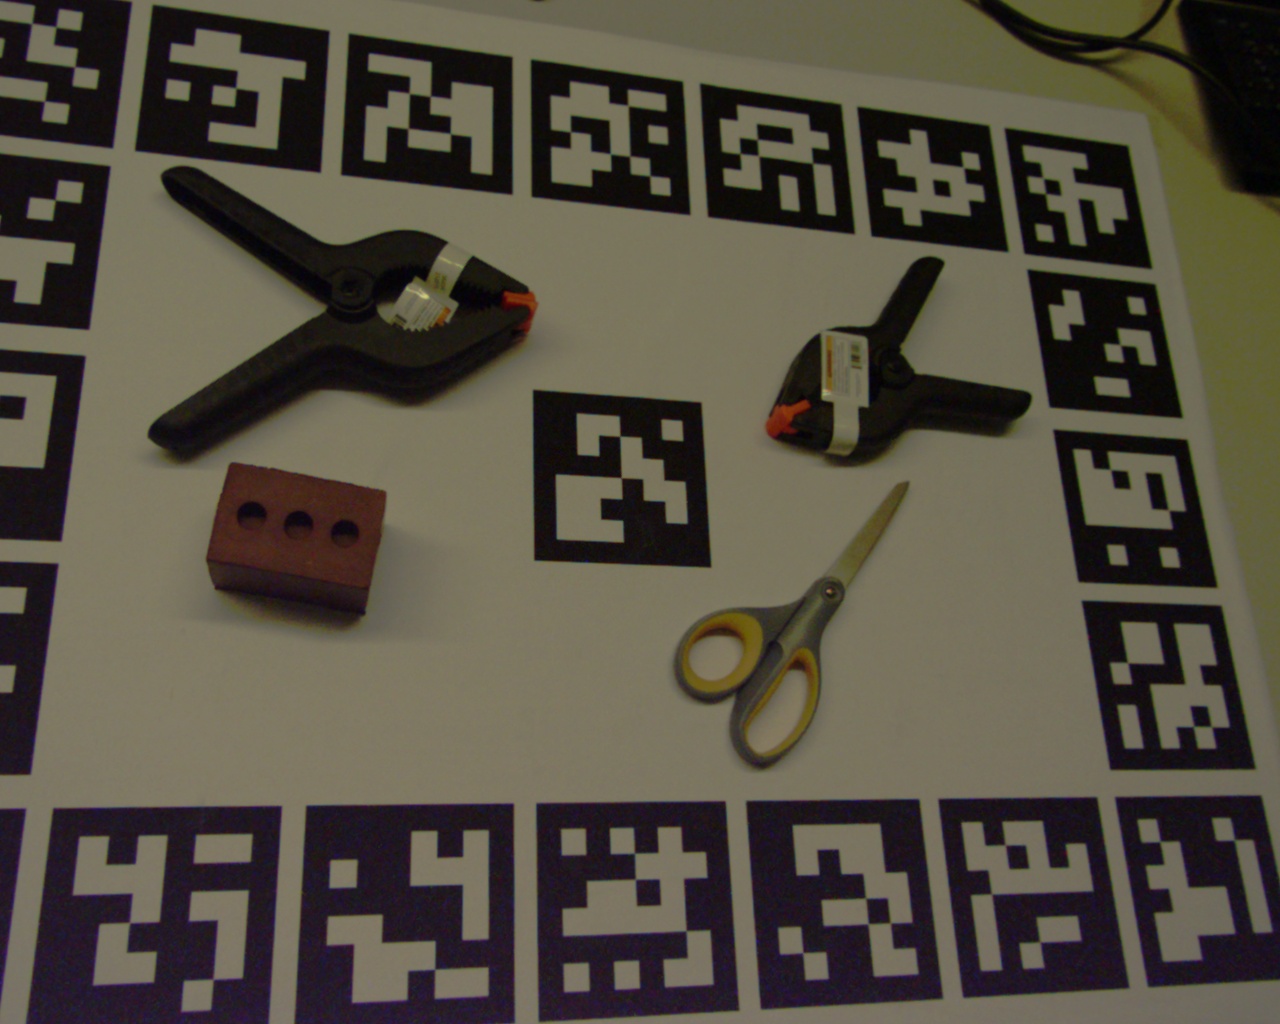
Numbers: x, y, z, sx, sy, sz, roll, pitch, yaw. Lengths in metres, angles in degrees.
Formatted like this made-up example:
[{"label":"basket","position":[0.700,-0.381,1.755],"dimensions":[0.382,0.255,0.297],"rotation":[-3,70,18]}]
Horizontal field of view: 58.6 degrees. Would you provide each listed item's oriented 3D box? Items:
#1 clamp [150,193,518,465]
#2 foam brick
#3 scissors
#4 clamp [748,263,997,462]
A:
[{"label":"clamp","position":[-0.172,-0.106,0.655],"dimensions":[0.201,0.037,0.166],"rotation":[-1,70,-16]},{"label":"foam brick","position":[-0.183,0.023,0.606],"dimensions":[0.078,0.051,0.053],"rotation":[9,72,-7]},{"label":"scissors","position":[0.085,0.056,0.677],"dimensions":[0.087,0.016,0.202],"rotation":[42,66,-7]},{"label":"clamp","position":[0.142,-0.081,0.732],"dimensions":[0.164,0.037,0.122],"rotation":[-26,88,-20]}]
